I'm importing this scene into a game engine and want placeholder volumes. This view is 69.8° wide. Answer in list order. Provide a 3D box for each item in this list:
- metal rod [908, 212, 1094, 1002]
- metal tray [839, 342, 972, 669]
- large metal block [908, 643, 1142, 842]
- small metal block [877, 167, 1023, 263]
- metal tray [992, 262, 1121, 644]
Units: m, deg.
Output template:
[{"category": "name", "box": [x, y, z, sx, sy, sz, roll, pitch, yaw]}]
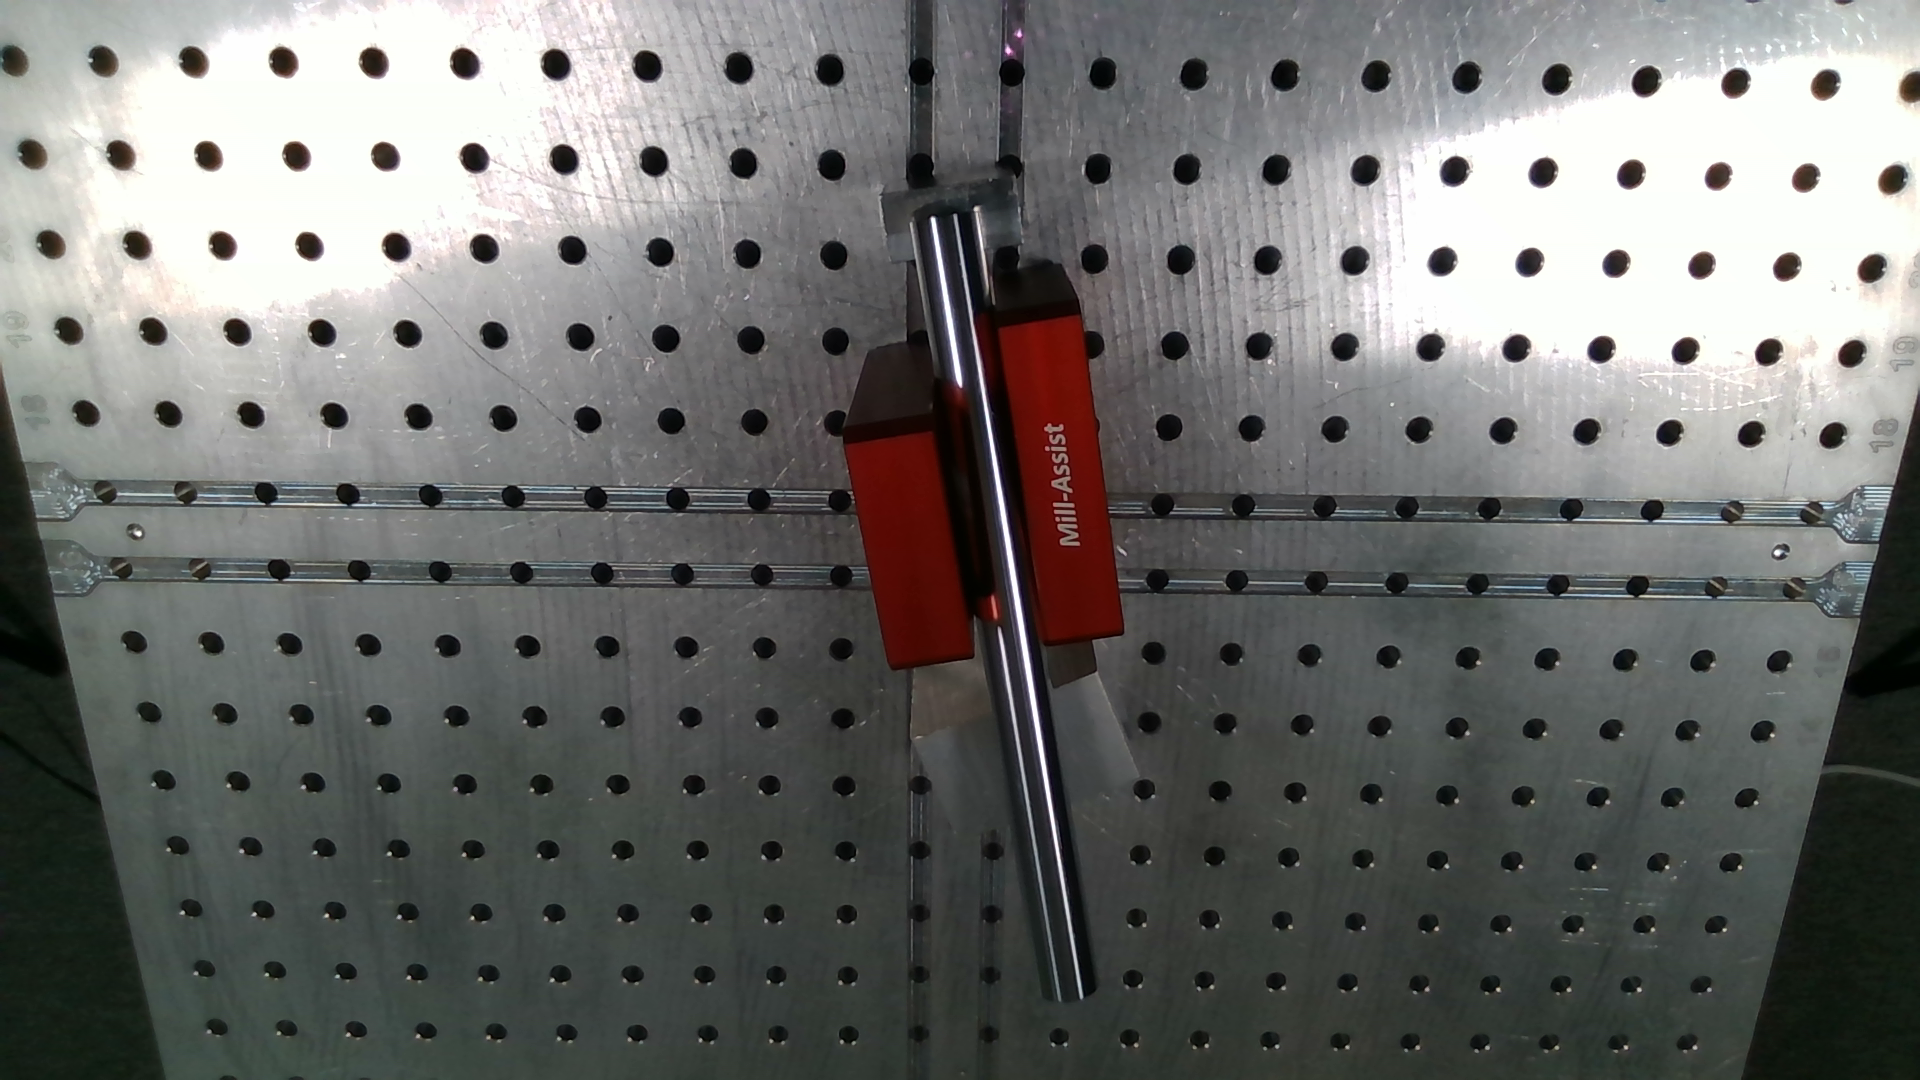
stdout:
[{"category": "metal rod", "box": [0.017, 0.031, 0.518, 0.025, 0.025, 0.300, -9, 101, 3]}, {"category": "metal tray", "box": [-0.017, -0.019, 0.524, 0.030, 0.130, 0.090, -9, 110, 4]}, {"category": "large metal block", "box": [0.026, 0.073, 0.584, 0.080, 0.080, 0.050, -21, 109, 8]}, {"category": "small metal block", "box": [-0.003, -0.126, 0.527, 0.050, 0.050, 0.025, -8, 110, 3]}, {"category": "metal tray", "box": [0.037, -0.036, 0.538, 0.030, 0.090, 0.130, -8, 110, 4]}]
